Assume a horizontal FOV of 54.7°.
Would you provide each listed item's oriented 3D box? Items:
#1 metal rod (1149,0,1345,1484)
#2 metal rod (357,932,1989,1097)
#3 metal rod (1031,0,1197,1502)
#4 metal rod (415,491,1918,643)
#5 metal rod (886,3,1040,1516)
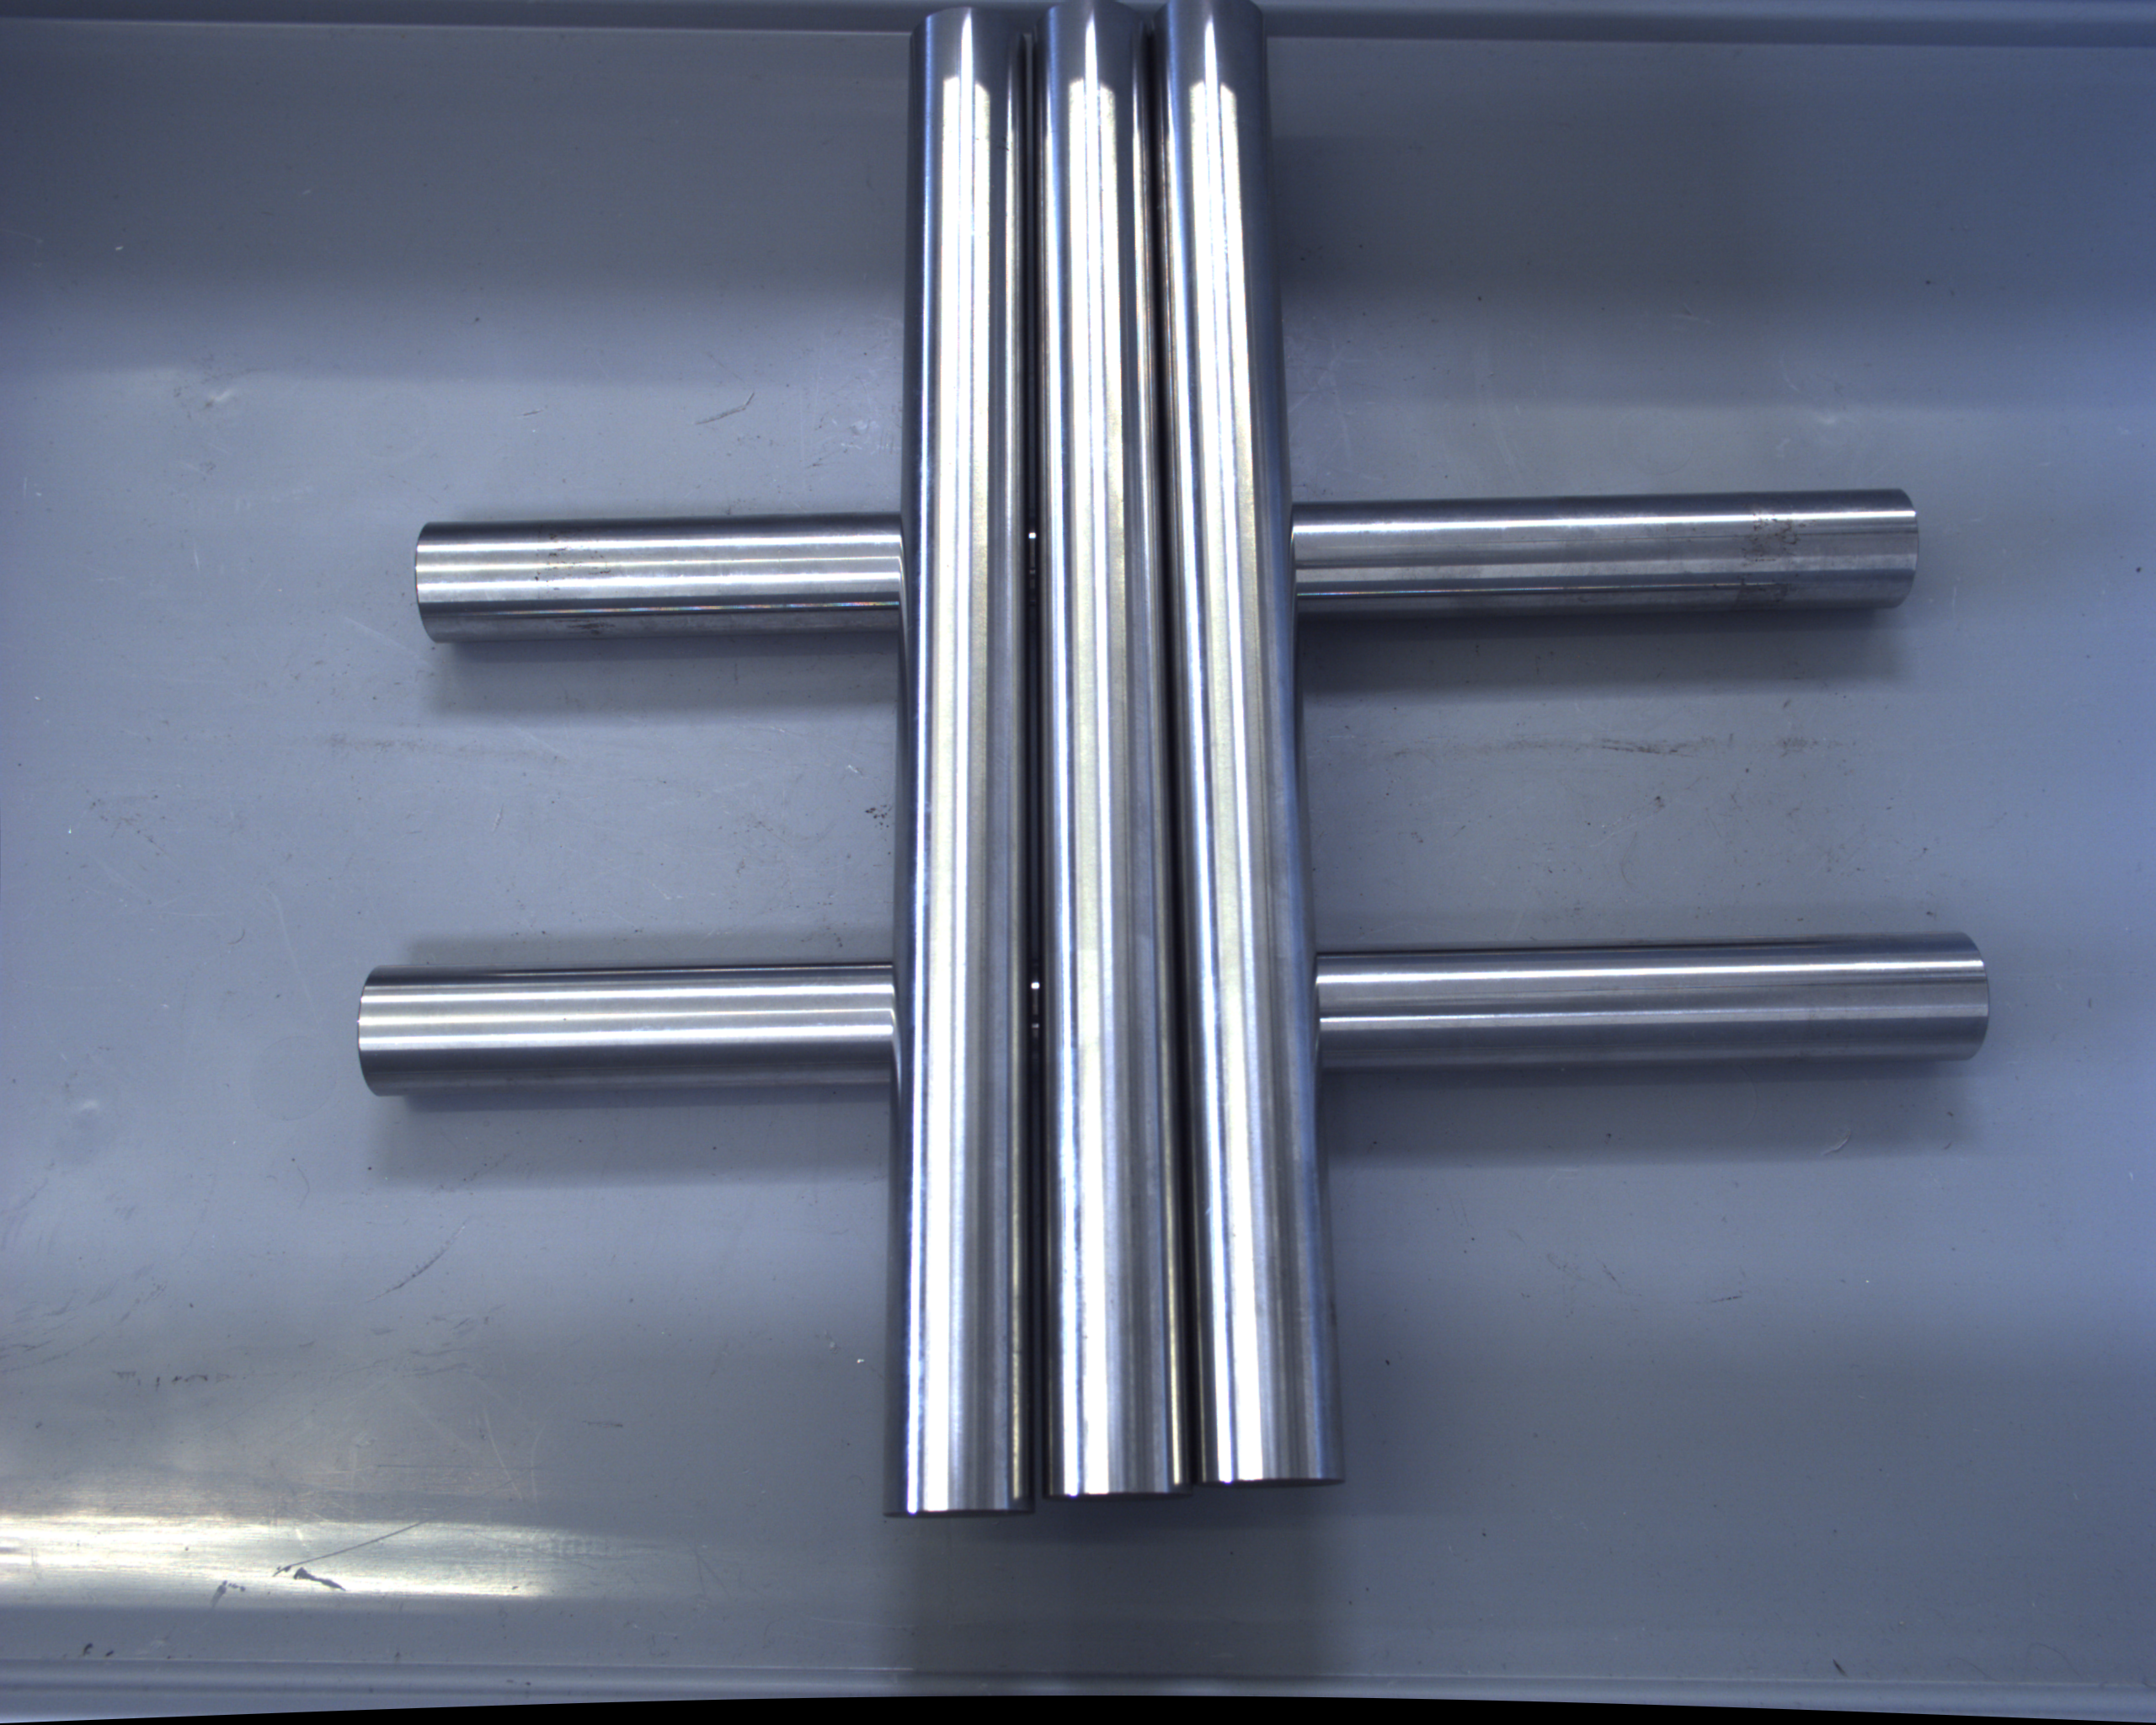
[{"bbox_3d":[0.029,-0.038,0.395,0.025,0.025,0.299,-1,70,0],"label":"metal rod"},{"bbox_3d":[0.018,0.029,0.398,0.302,0.025,0.025,-1,70,-1],"label":"metal rod"},{"bbox_3d":[0.005,-0.036,0.394,0.025,0.025,0.299,-1,70,0],"label":"metal rod"},{"bbox_3d":[0.019,-0.061,0.431,0.302,0.025,0.025,-1,70,-1],"label":"metal rod"},{"bbox_3d":[-0.021,-0.034,0.393,0.025,0.025,0.299,-1,70,0],"label":"metal rod"}]
